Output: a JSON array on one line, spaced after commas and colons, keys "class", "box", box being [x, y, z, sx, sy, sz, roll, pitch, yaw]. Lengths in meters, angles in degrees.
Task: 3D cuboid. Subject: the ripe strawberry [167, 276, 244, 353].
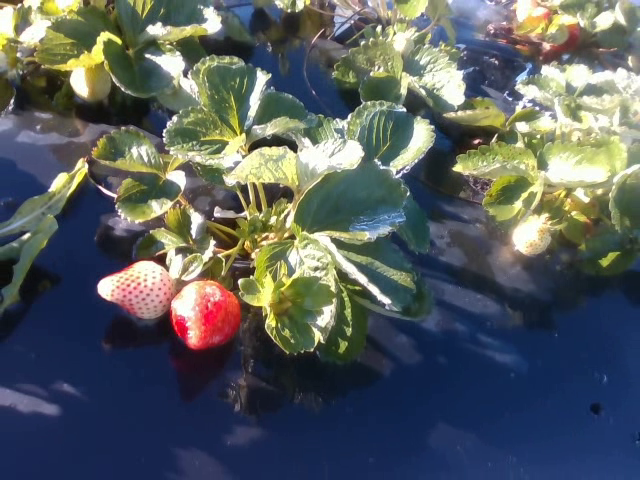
[{"class": "ripe strawberry", "box": [-0.059, 0.040, 0.308, 0.040, 0.037, 0.055, -15, 5, 6]}]
